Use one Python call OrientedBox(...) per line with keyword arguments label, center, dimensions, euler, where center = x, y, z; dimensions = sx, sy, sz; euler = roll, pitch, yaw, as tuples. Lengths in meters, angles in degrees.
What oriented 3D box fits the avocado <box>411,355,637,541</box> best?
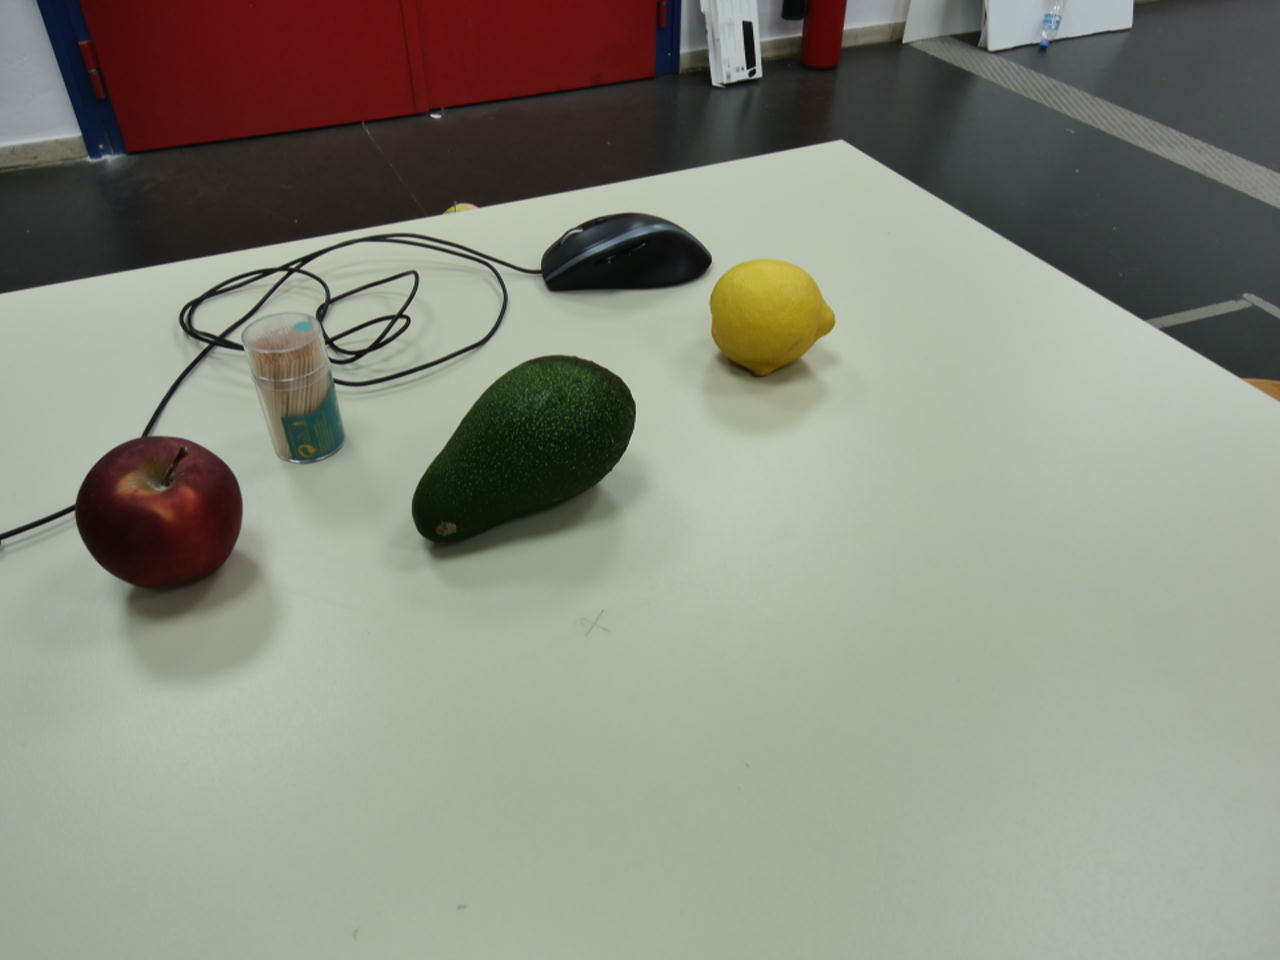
OrientedBox(label="avocado", center=(-0.061, -0.022, 0.508), dimensions=(0.123, 0.076, 0.074), euler=(-12, 40, -16))
